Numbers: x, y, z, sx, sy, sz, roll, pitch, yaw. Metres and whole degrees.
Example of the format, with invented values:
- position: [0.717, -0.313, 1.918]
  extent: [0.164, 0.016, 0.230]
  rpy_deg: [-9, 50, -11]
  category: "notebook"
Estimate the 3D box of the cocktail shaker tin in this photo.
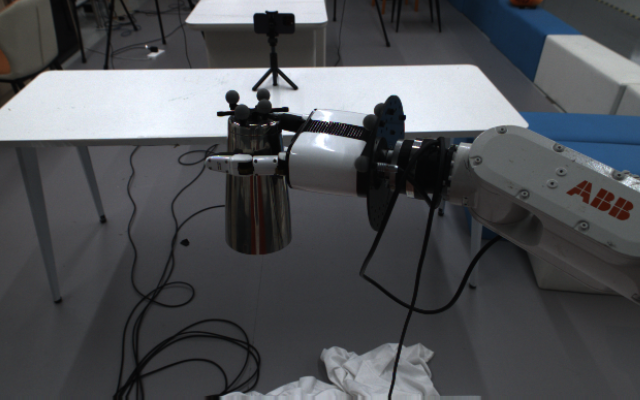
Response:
- position: [-0.081, -0.027, 0.636]
  extent: [0.093, 0.170, 0.093]
  rpy_deg: [1, 27, -1]
  category: "cocktail shaker tin"
